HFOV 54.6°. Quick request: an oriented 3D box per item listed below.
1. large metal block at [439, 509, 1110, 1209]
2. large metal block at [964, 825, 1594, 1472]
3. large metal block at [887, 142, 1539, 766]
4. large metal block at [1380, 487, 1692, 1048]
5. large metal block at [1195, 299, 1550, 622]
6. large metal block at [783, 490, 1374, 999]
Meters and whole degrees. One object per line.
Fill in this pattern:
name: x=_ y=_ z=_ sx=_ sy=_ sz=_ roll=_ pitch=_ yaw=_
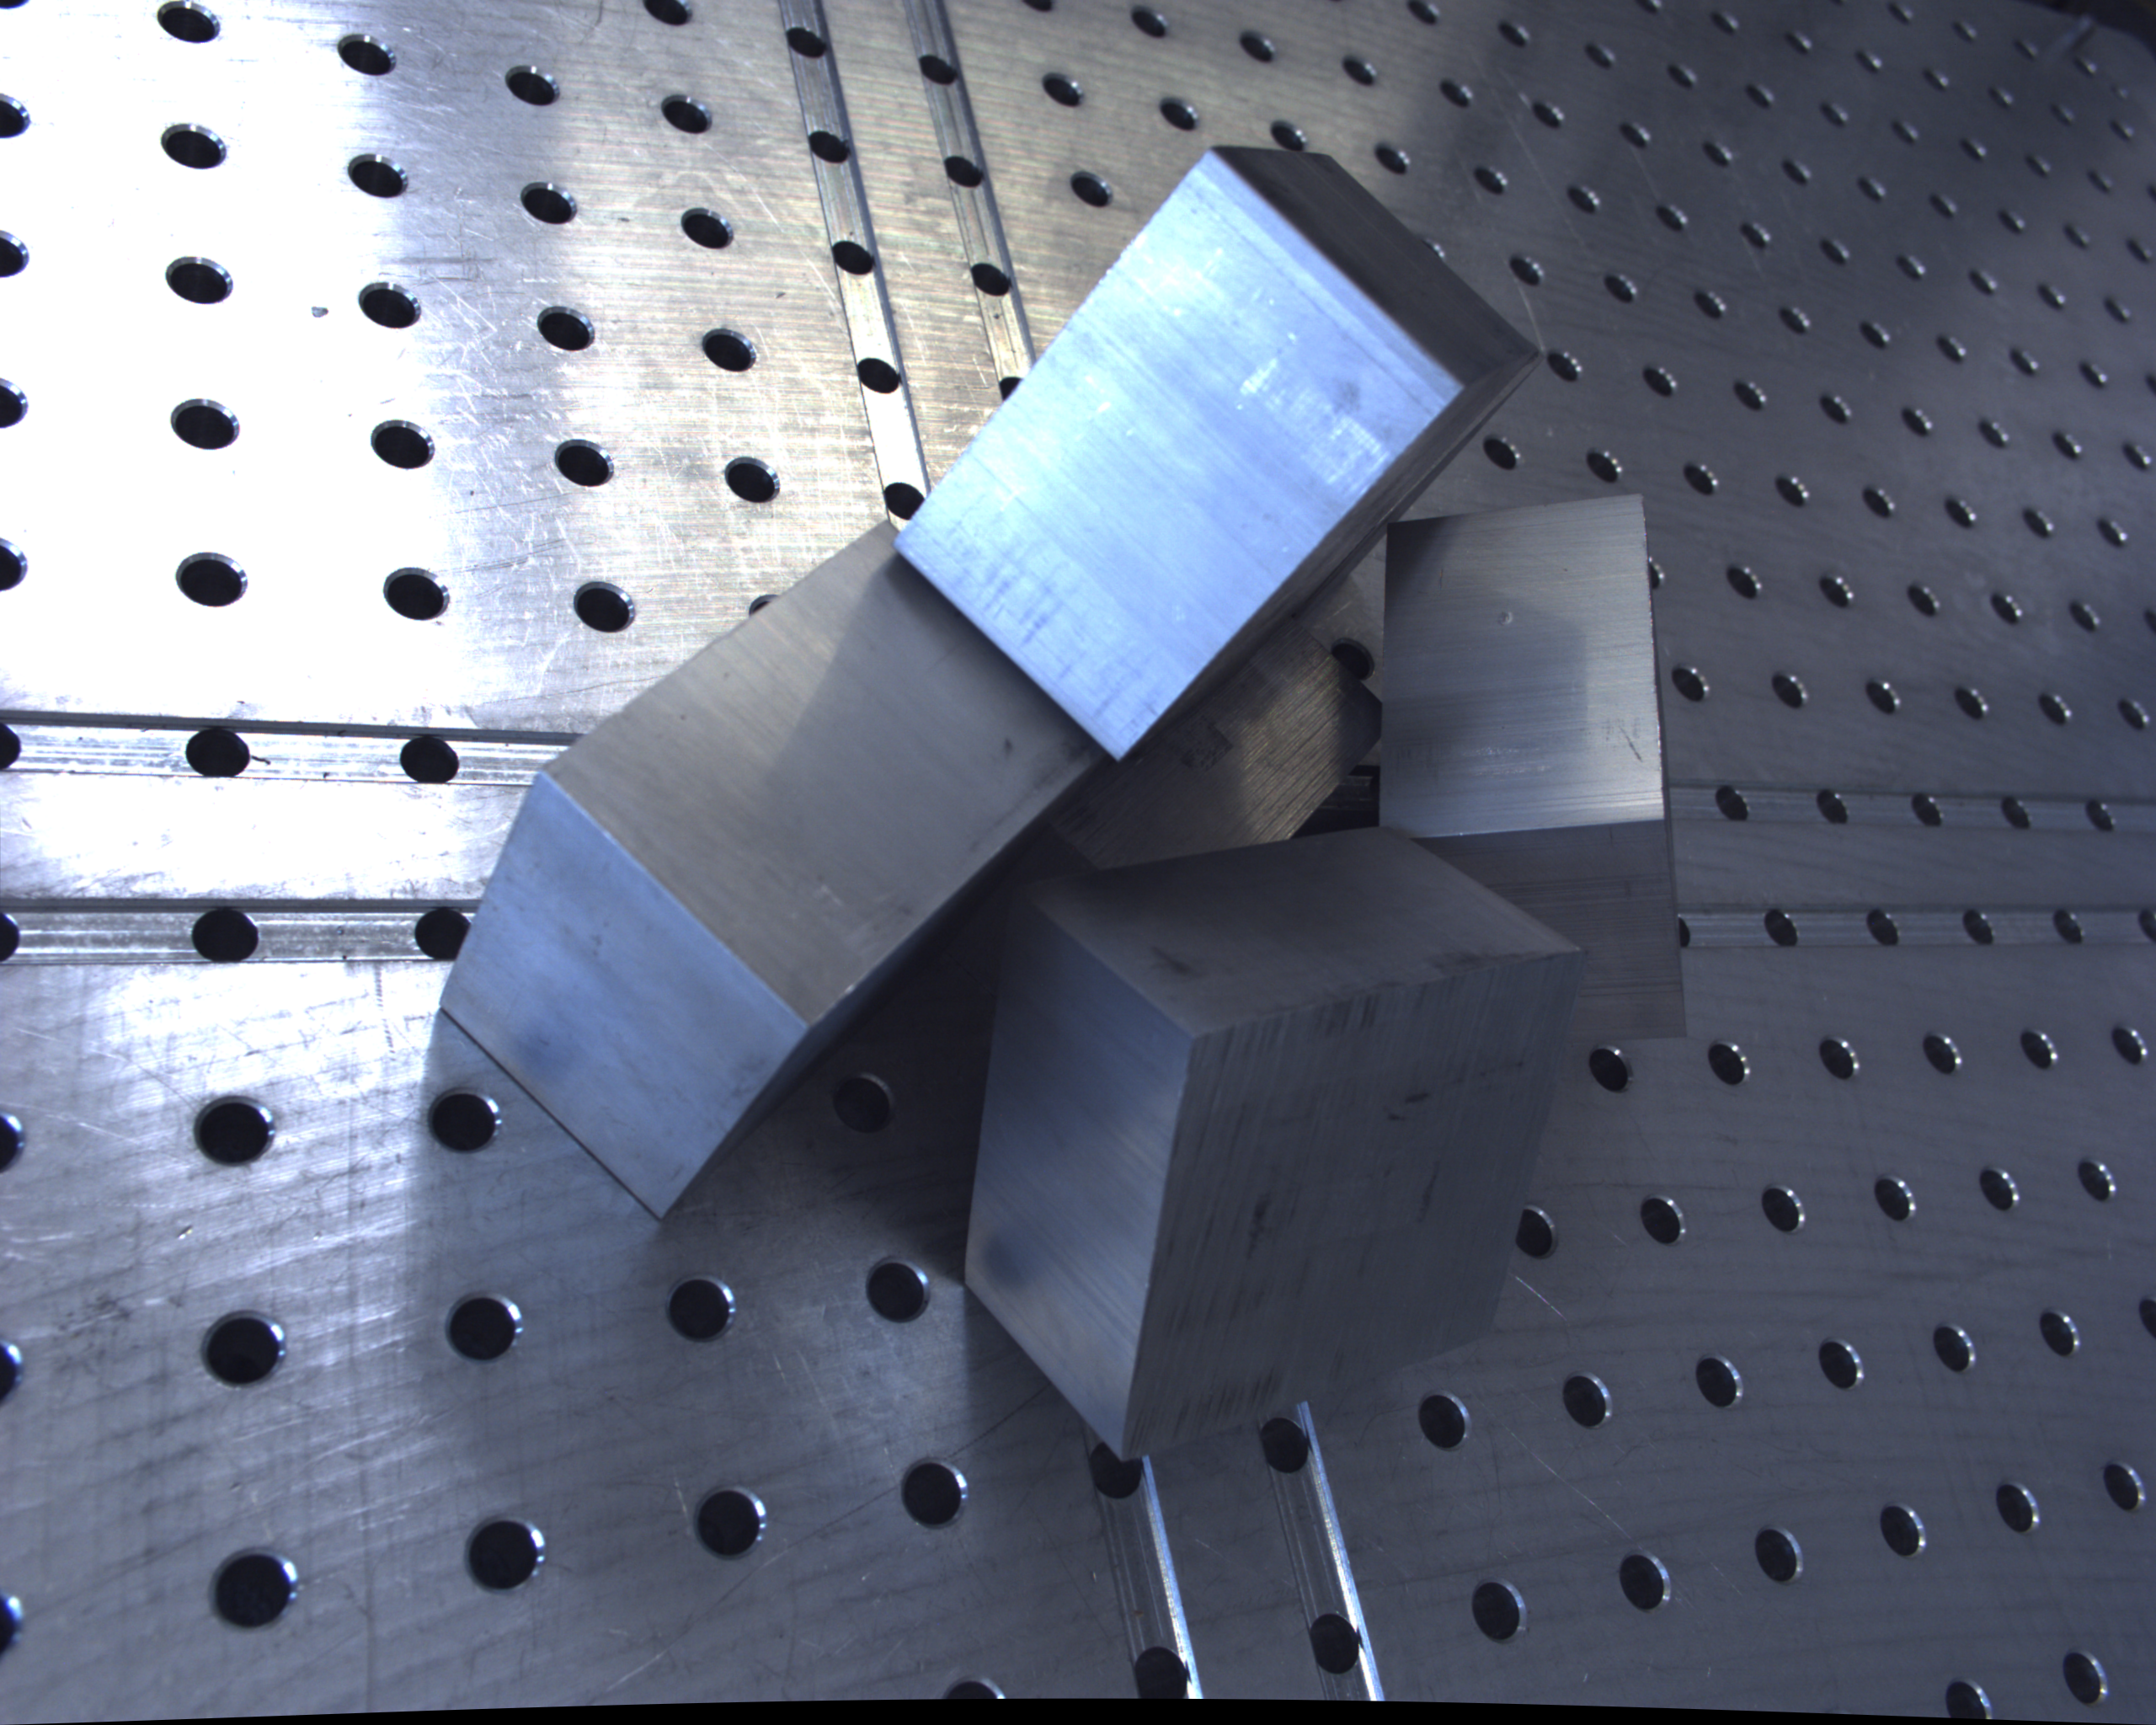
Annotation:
large metal block: x=-0.050 y=0.000 z=0.344 sx=0.050 sy=0.080 sz=0.080 roll=44 pitch=51 yaw=2
large metal block: x=0.032 y=0.045 z=0.353 sx=0.081 sy=0.079 sz=0.050 roll=-9 pitch=30 yaw=-32
large metal block: x=0.026 y=-0.070 z=0.348 sx=0.050 sy=0.080 sz=0.080 roll=44 pitch=26 yaw=2
large metal block: x=0.094 y=-0.016 z=0.423 sx=0.050 sy=0.080 sz=0.080 roll=-5 pitch=55 yaw=17
large metal block: x=0.042 y=-0.083 z=0.446 sx=0.050 sy=0.080 sz=0.080 roll=43 pitch=51 yaw=1
large metal block: x=0.002 y=-0.021 z=0.407 sx=0.080 sy=0.050 sz=0.080 roll=43 pitch=51 yaw=1
